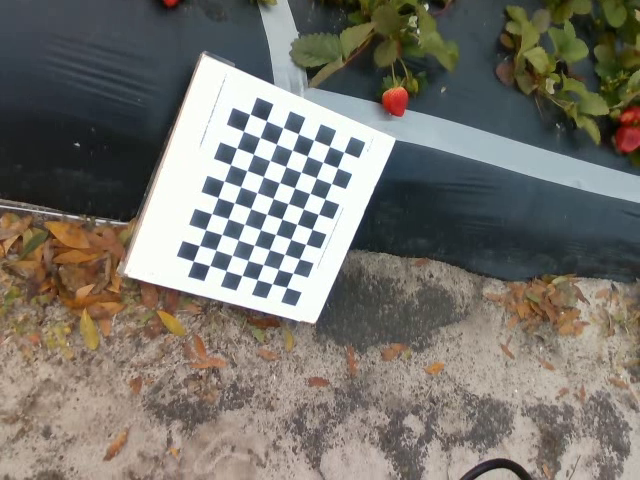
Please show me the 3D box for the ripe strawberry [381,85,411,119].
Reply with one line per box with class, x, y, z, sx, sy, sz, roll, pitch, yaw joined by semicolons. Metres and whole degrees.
ripe strawberry;0.095;-0.183;0.719;0.039;0.046;0.041;-15;16;-2
